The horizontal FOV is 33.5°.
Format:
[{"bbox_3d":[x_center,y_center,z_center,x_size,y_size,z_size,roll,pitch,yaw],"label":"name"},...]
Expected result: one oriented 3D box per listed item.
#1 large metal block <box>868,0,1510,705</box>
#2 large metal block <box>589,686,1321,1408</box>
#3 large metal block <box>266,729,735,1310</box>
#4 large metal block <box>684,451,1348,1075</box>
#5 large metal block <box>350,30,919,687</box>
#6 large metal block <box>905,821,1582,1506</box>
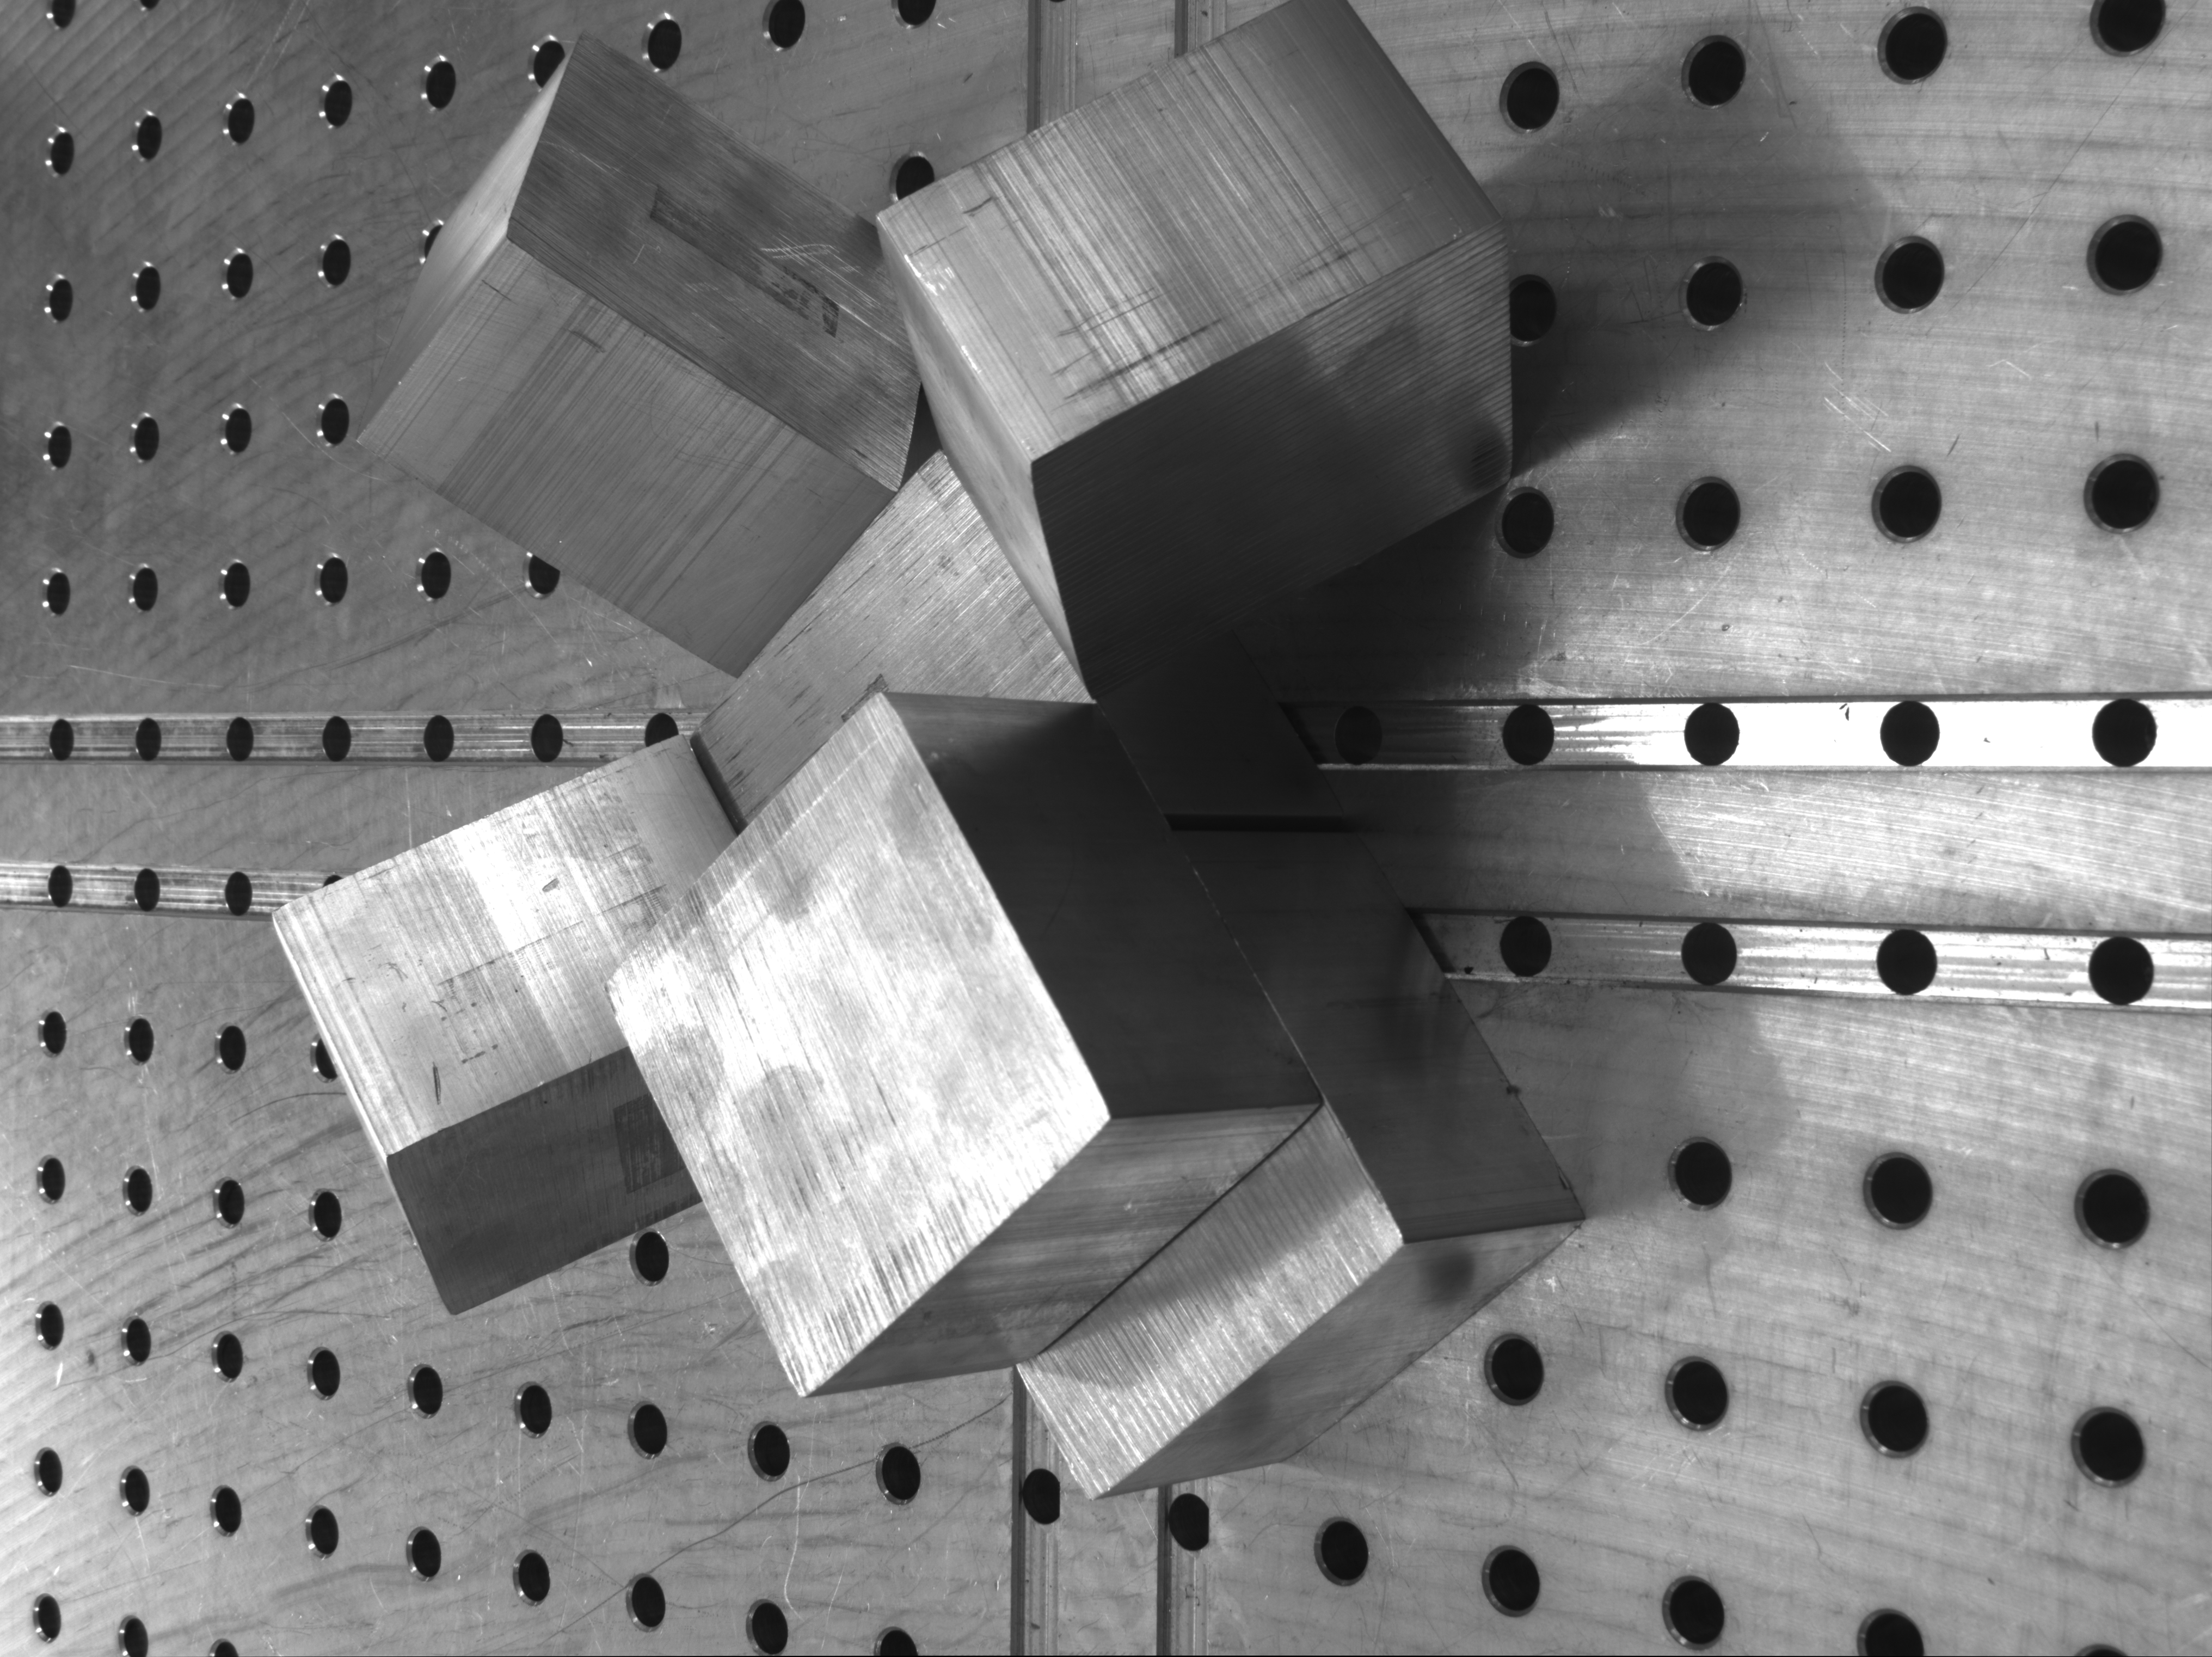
[{"bbox_3d":[0.016,-0.075,0.579,0.080,0.080,0.050,-28,66,-6],"label":"large metal block"},{"bbox_3d":[-0.026,0.034,0.587,0.080,0.050,0.080,-44,64,30],"label":"large metal block"},{"bbox_3d":[-0.101,0.036,0.678,0.050,0.080,0.080,60,165,24],"label":"large metal block"},{"bbox_3d":[-0.017,-0.010,0.647,0.080,0.050,0.080,-46,62,30],"label":"large metal block"},{"bbox_3d":[-0.080,-0.085,0.661,0.050,0.080,0.080,-45,23,31],"label":"large metal block"},{"bbox_3d":[0.019,0.056,0.616,0.080,0.050,0.080,-44,62,30],"label":"large metal block"}]
